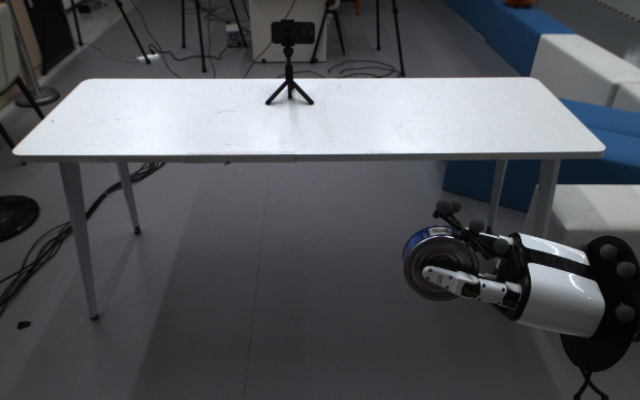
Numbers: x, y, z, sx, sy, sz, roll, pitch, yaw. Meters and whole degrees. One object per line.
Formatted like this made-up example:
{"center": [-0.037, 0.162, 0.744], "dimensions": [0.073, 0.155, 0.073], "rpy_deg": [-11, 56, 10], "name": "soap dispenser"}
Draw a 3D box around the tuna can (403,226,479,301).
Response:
{"center": [0.144, 0.080, 0.563], "dimensions": [0.085, 0.085, 0.034], "rpy_deg": [6, 19, 6], "name": "tuna can"}
